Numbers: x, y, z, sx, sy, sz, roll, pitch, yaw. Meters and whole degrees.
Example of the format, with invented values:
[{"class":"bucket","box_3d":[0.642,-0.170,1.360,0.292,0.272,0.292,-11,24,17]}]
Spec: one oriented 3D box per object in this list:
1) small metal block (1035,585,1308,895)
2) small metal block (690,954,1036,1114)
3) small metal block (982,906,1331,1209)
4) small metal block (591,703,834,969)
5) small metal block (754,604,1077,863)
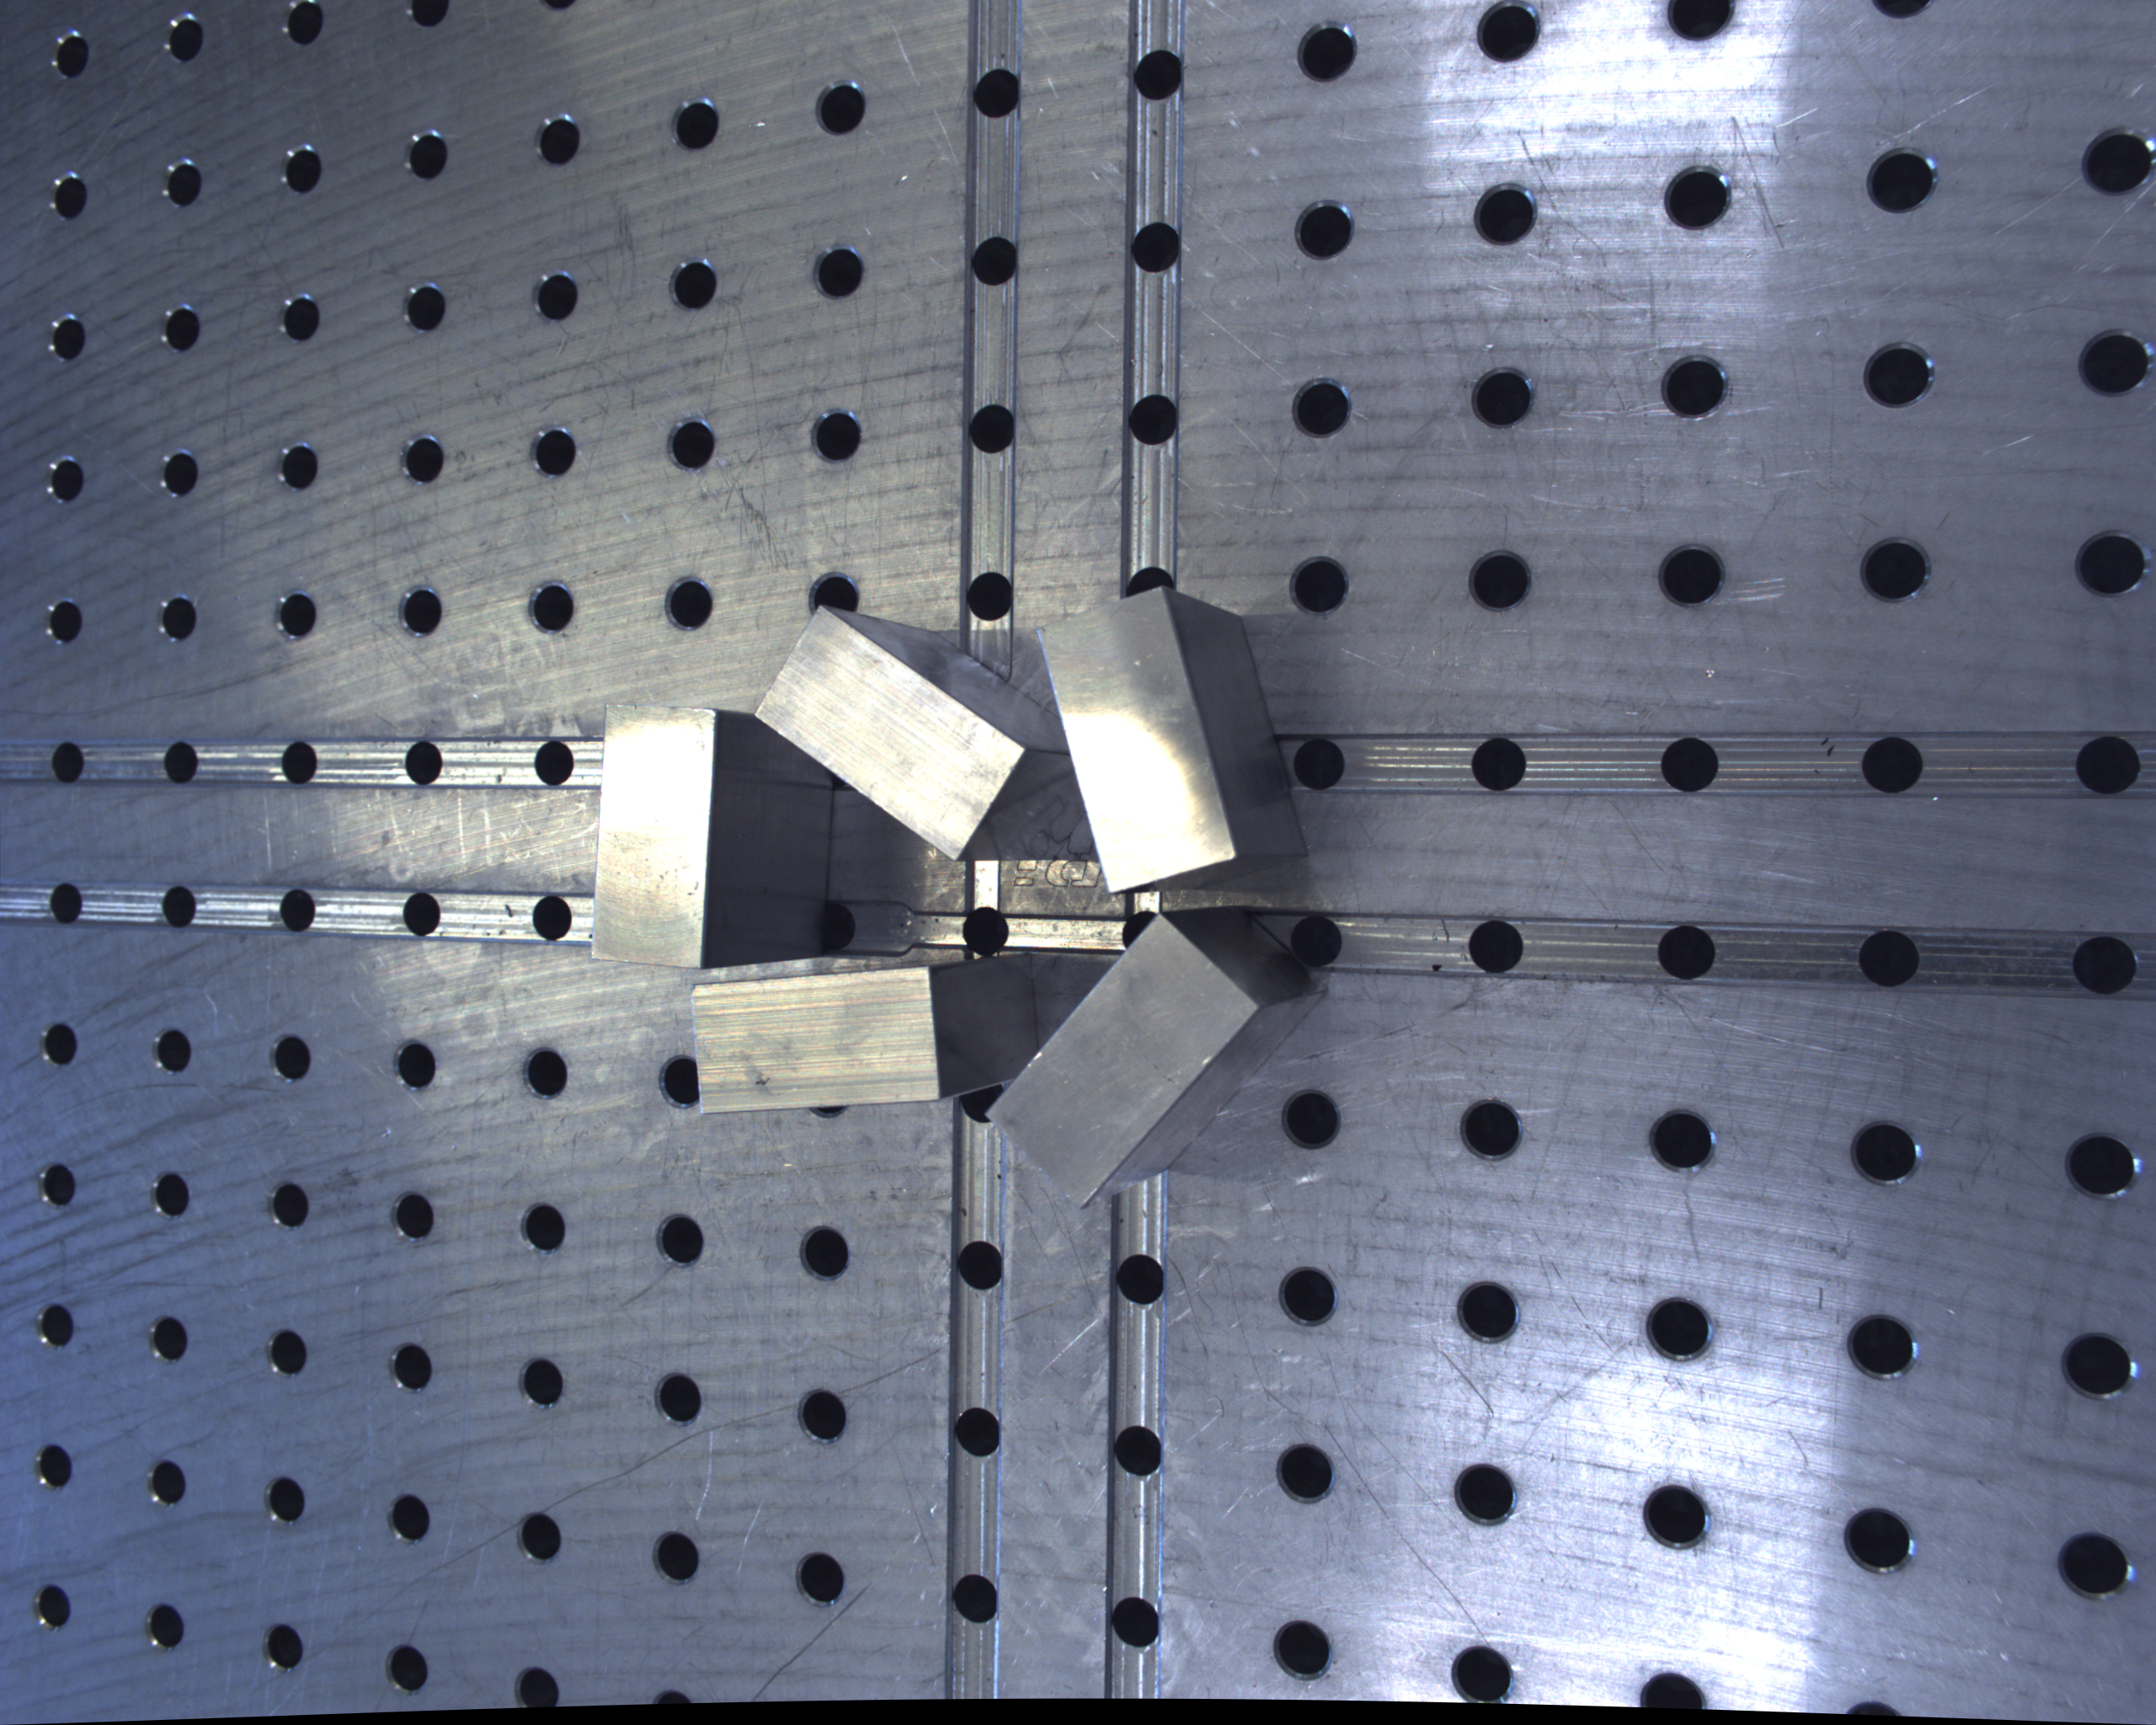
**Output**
[{"class":"small metal block","box_3d":[0.019,-0.021,0.392,0.025,0.050,0.050,-17,84,19]},{"class":"small metal block","box_3d":[-0.041,0.033,0.414,0.050,0.050,0.025,-5,88,20]},{"class":"small metal block","box_3d":[0.016,0.035,0.393,0.025,0.050,0.050,44,104,15]},{"class":"small metal block","box_3d":[-0.073,-0.006,0.426,0.025,0.050,0.050,4,92,20]},{"class":"small metal block","box_3d":[-0.026,-0.025,0.409,0.050,0.050,0.025,35,102,16]}]
